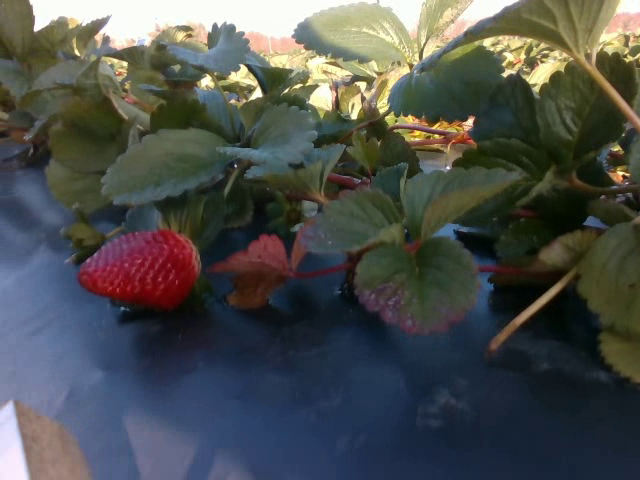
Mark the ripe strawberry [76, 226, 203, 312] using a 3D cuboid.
[{"bbox_3d":[-0.071,0.011,0.226,0.040,0.041,0.056,-27,-7,24],"label":"ripe strawberry"}]
